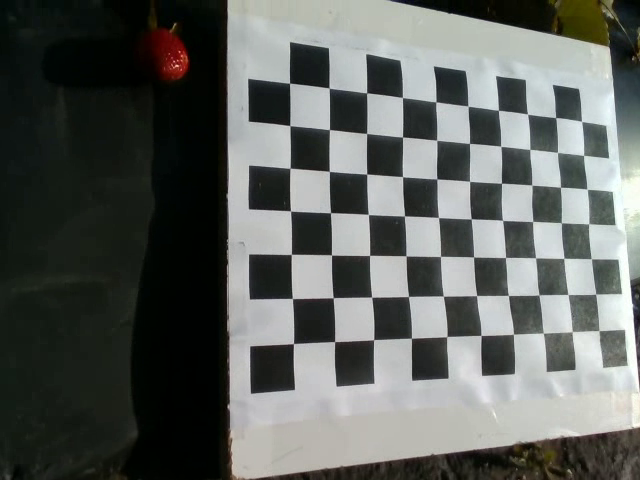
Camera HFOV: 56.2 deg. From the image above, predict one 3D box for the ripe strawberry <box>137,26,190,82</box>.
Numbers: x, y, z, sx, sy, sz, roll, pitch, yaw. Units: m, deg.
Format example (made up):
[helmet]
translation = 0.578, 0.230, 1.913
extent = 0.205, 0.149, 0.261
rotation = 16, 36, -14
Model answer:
[ripe strawberry]
translation = -0.073, -0.080, 0.269
extent = 0.034, 0.033, 0.038
rotation = 0, 31, -23
